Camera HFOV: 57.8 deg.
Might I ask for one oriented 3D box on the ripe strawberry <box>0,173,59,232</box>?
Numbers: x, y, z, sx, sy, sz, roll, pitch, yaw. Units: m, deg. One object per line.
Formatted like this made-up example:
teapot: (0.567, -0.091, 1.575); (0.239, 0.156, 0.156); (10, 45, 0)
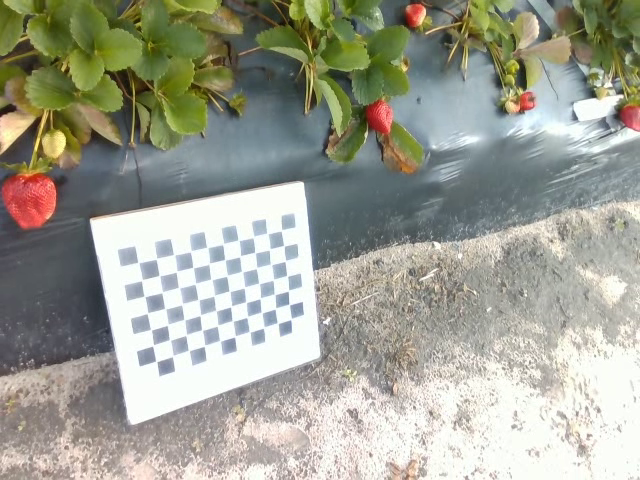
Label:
ripe strawberry: (-0.360, -0.049, 0.713); (0.067, 0.074, 0.039); (-9, 12, -26)
